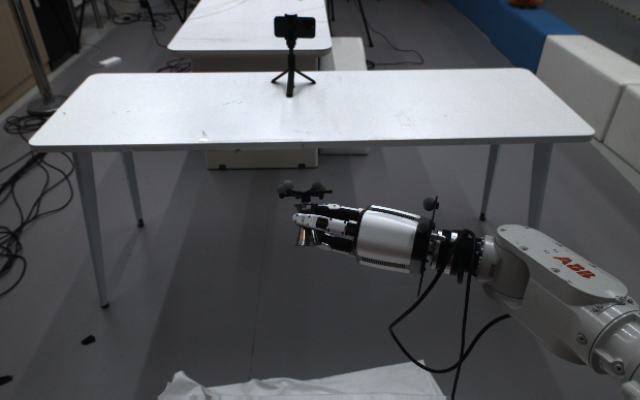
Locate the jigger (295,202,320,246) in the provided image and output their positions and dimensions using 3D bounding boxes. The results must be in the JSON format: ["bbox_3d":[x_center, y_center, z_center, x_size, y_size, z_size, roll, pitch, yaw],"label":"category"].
[{"bbox_3d":[-0.022,0.039,0.779,0.043,0.071,0.043,-2,-7,0],"label":"jigger"}]
